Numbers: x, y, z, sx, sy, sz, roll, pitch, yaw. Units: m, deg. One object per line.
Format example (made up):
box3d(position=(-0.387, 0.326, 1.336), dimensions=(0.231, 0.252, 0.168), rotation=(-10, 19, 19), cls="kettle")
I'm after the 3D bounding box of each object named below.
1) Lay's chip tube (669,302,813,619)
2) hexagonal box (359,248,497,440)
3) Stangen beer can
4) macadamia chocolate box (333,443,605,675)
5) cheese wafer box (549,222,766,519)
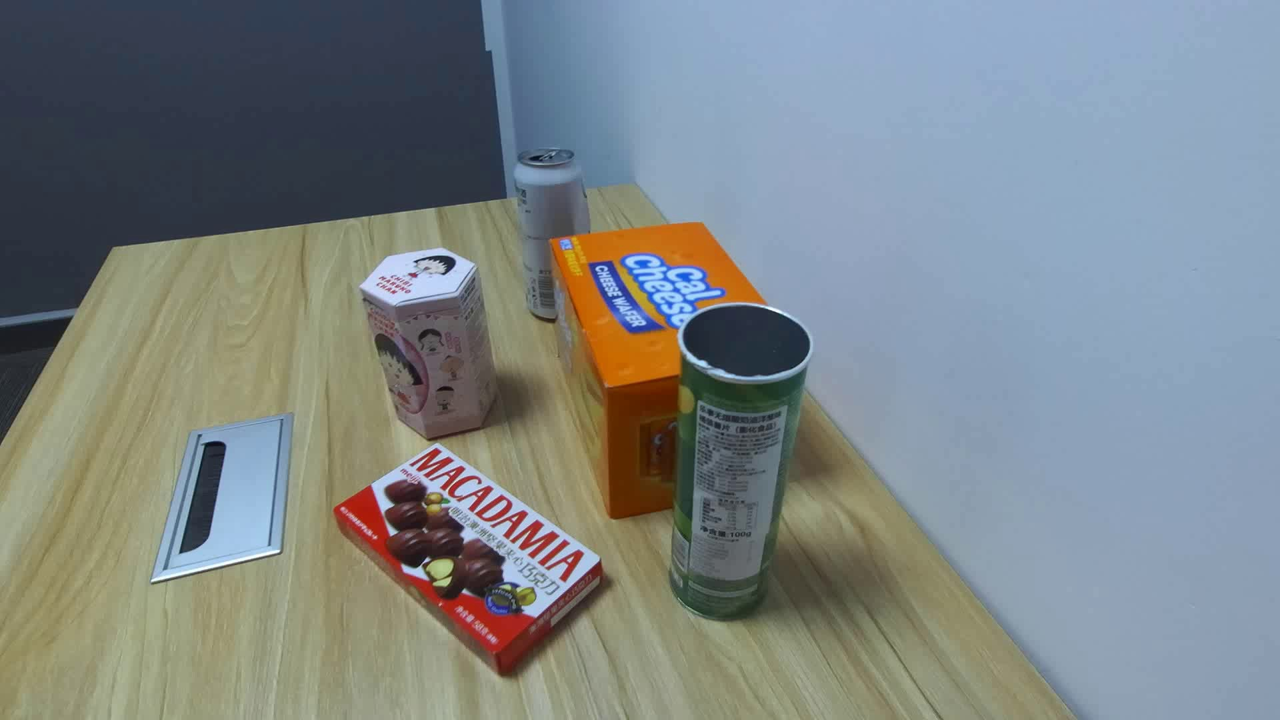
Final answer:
box3d(position=(0.054, 0.067, 0.418), dimensions=(0.071, 0.203, 0.071), rotation=(0, 37, 1), cls="Lay's chip tube")
box3d(position=(-0.171, -0.012, 0.588), dimensions=(0.091, 0.136, 0.084), rotation=(26, 43, 31), cls="hexagonal box")
box3d(position=(-0.080, -0.129, 0.714), dimensions=(0.070, 0.173, 0.070), rotation=(-21, 34, -25), cls="Stangen beer can")
box3d(position=(-0.122, 0.129, 0.493), dimensions=(0.177, 0.027, 0.096), rotation=(26, 43, 31), cls="macadamia chocolate box")
box3d(position=(0.018, -0.005, 0.588), dimensions=(0.148, 0.129, 0.221), rotation=(-11, 39, -13), cls="cheese wafer box")
